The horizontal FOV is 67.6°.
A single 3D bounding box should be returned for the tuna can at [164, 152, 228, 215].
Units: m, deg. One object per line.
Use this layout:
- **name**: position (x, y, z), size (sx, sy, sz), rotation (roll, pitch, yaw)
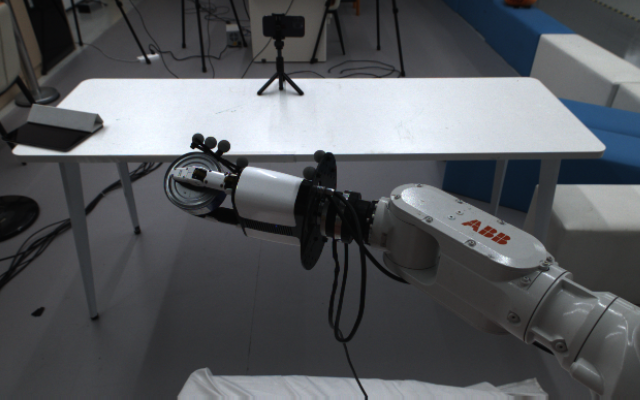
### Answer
- **tuna can**: position (-0.174, -0.022, 0.687), size (0.085, 0.034, 0.085), rotation (-2, 70, 6)
